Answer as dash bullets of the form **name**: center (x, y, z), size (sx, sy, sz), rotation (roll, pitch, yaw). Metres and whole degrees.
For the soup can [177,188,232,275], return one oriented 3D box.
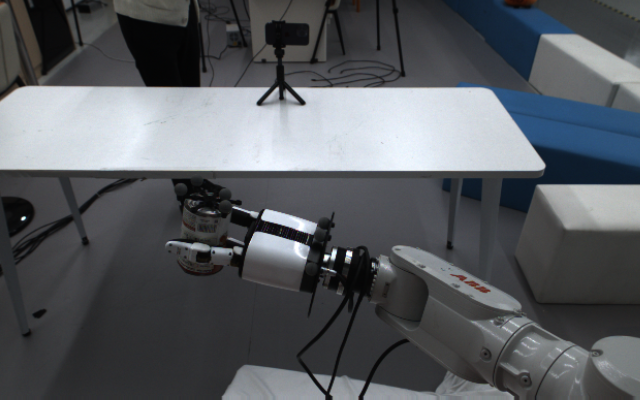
- **soup can**: center (-0.164, 0.050, 0.691), size (0.067, 0.101, 0.067), rotation (11, 25, -5)
